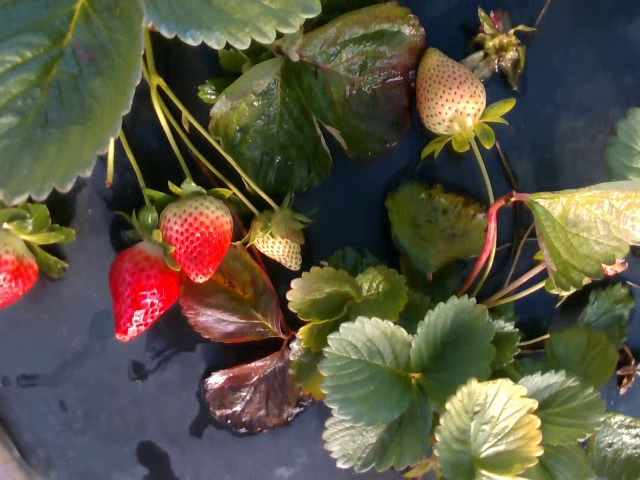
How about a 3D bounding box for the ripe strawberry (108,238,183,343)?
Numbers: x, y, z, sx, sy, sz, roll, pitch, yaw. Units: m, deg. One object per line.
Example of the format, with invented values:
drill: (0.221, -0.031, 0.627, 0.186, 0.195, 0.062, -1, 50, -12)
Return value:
ripe strawberry: (-0.097, 0.029, 0.323, 0.044, 0.055, 0.041, 2, -23, 38)
